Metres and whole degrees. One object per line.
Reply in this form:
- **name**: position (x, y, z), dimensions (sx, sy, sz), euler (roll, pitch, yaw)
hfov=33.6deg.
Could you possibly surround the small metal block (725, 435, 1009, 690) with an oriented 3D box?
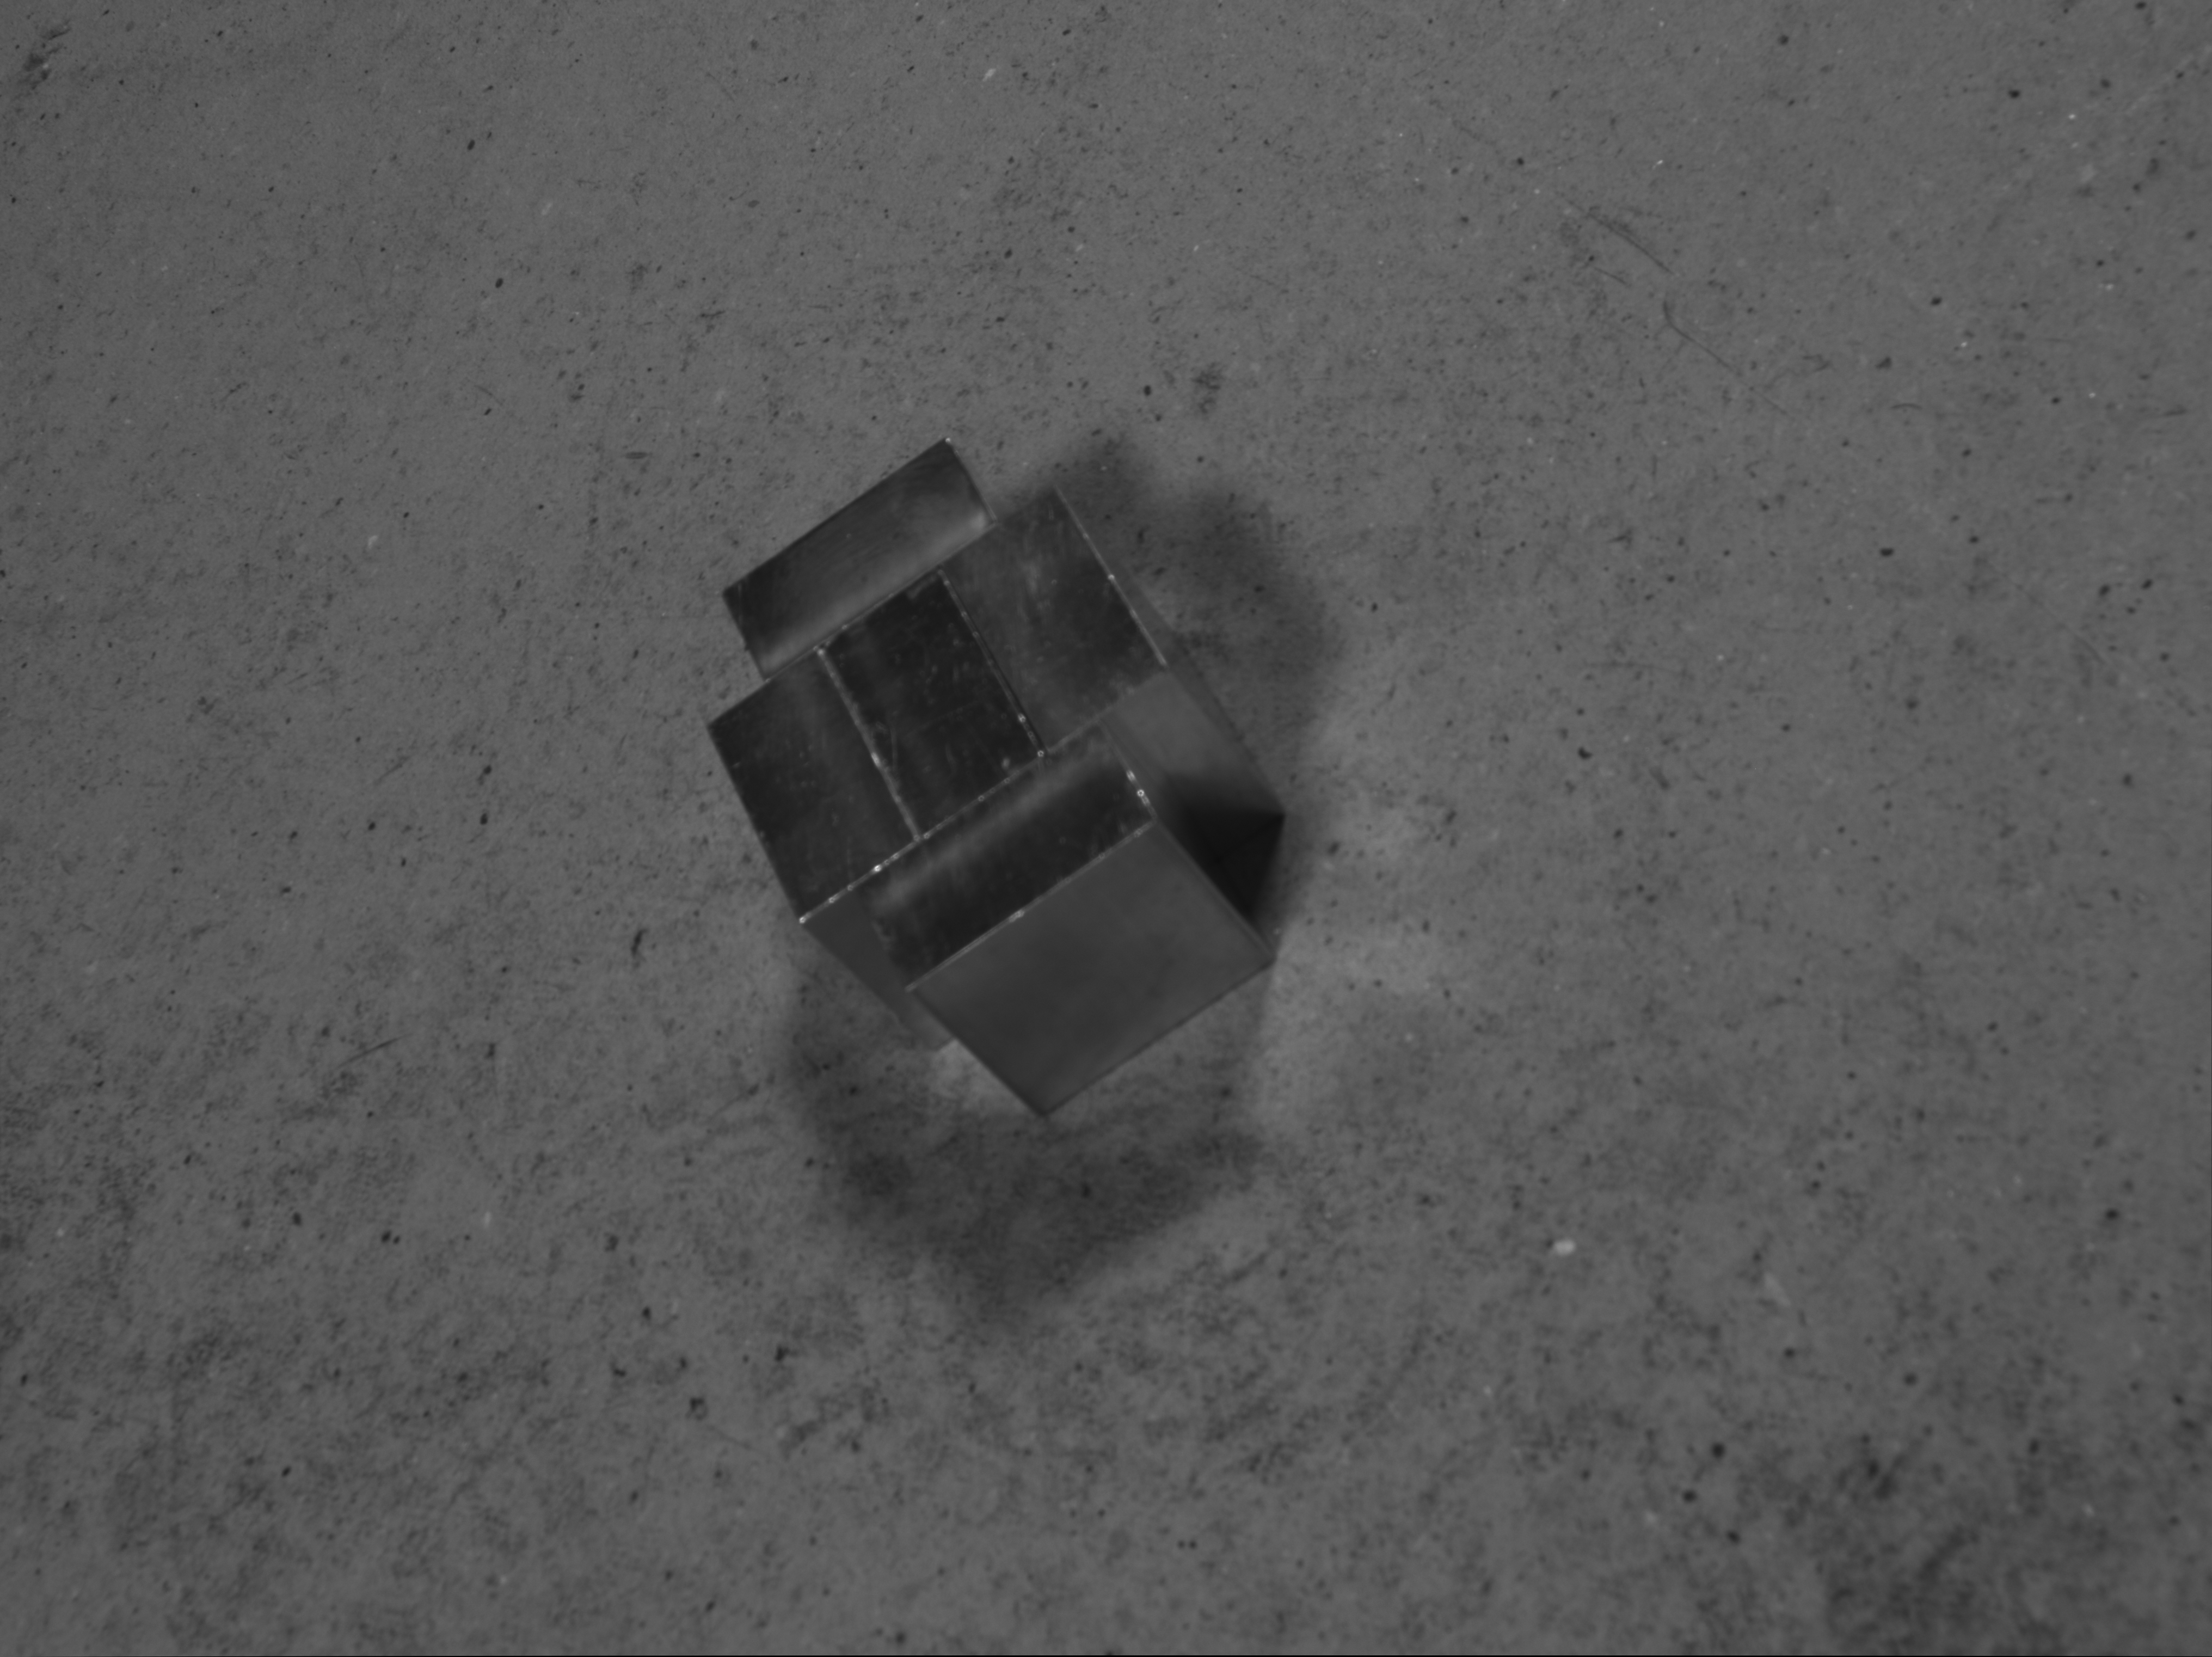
- **small metal block**: position (-0.033, -0.036, 0.667), dimensions (0.050, 0.050, 0.025), euler (-34, 51, 6)

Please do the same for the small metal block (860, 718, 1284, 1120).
- **small metal block**: position (-0.005, 0.016, 0.621), dimensions (0.050, 0.050, 0.025), euler (-34, 51, 6)

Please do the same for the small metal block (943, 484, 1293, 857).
- **small metal block**: position (0.002, -0.024, 0.641), dimensions (0.025, 0.050, 0.050), euler (-35, 51, 5)

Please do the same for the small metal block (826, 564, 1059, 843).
- **small metal block**: position (-0.019, -0.010, 0.644), dimensions (0.025, 0.050, 0.050), euler (-34, 51, 6)

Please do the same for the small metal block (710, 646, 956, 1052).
- **small metal block**: position (-0.039, 0.004, 0.646), dimensions (0.025, 0.050, 0.050), euler (-34, 51, 6)
